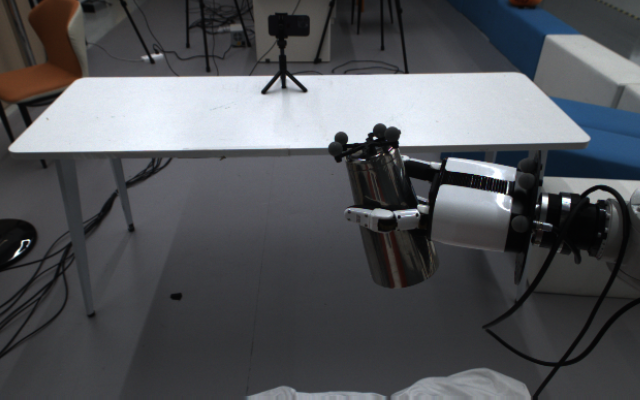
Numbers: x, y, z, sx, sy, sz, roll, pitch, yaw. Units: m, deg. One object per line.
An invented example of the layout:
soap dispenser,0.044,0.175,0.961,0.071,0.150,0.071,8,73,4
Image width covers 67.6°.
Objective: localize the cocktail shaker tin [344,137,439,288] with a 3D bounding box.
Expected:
cocktail shaker tin,0.088,0.015,0.616,0.093,0.170,0.093,-17,20,7
